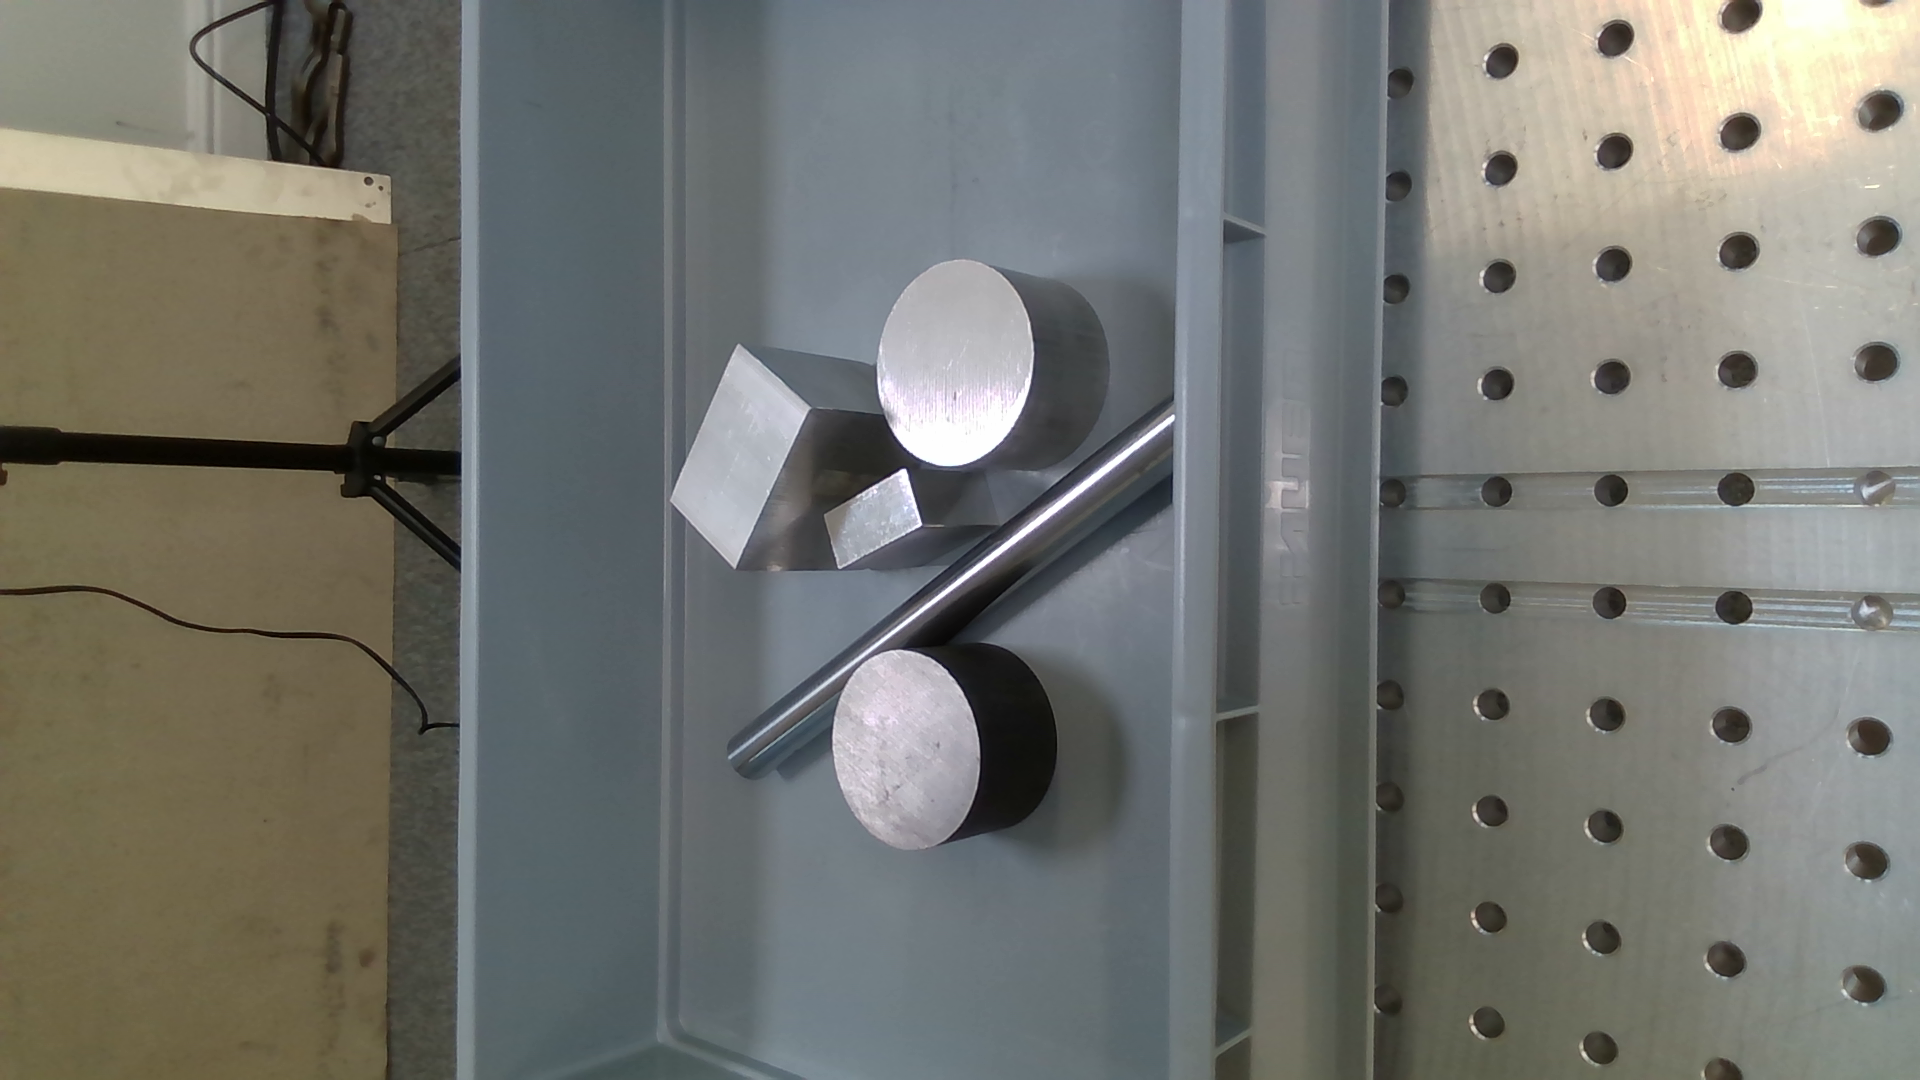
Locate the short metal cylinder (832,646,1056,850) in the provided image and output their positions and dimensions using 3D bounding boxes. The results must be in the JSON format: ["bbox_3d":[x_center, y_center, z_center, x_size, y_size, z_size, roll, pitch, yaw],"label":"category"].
[{"bbox_3d":[-0.007,0.084,0.572,0.080,0.050,0.080,0,91,40],"label":"short metal cylinder"}]

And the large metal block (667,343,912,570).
[{"bbox_3d":[-0.068,-0.034,0.601,0.050,0.080,0.080,42,115,33],"label":"large metal block"}]

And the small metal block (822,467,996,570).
[{"bbox_3d":[-0.021,-0.008,0.582,0.050,0.050,0.025,-27,73,37],"label":"small metal block"}]

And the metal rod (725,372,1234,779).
[{"bbox_3d":[-0.006,0.027,0.586,0.301,0.025,0.025,-39,67,34],"label":"metal rod"}]

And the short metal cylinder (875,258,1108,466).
[{"bbox_3d":[0.012,-0.069,0.553,0.080,0.050,0.080,0,91,40],"label":"short metal cylinder"}]
